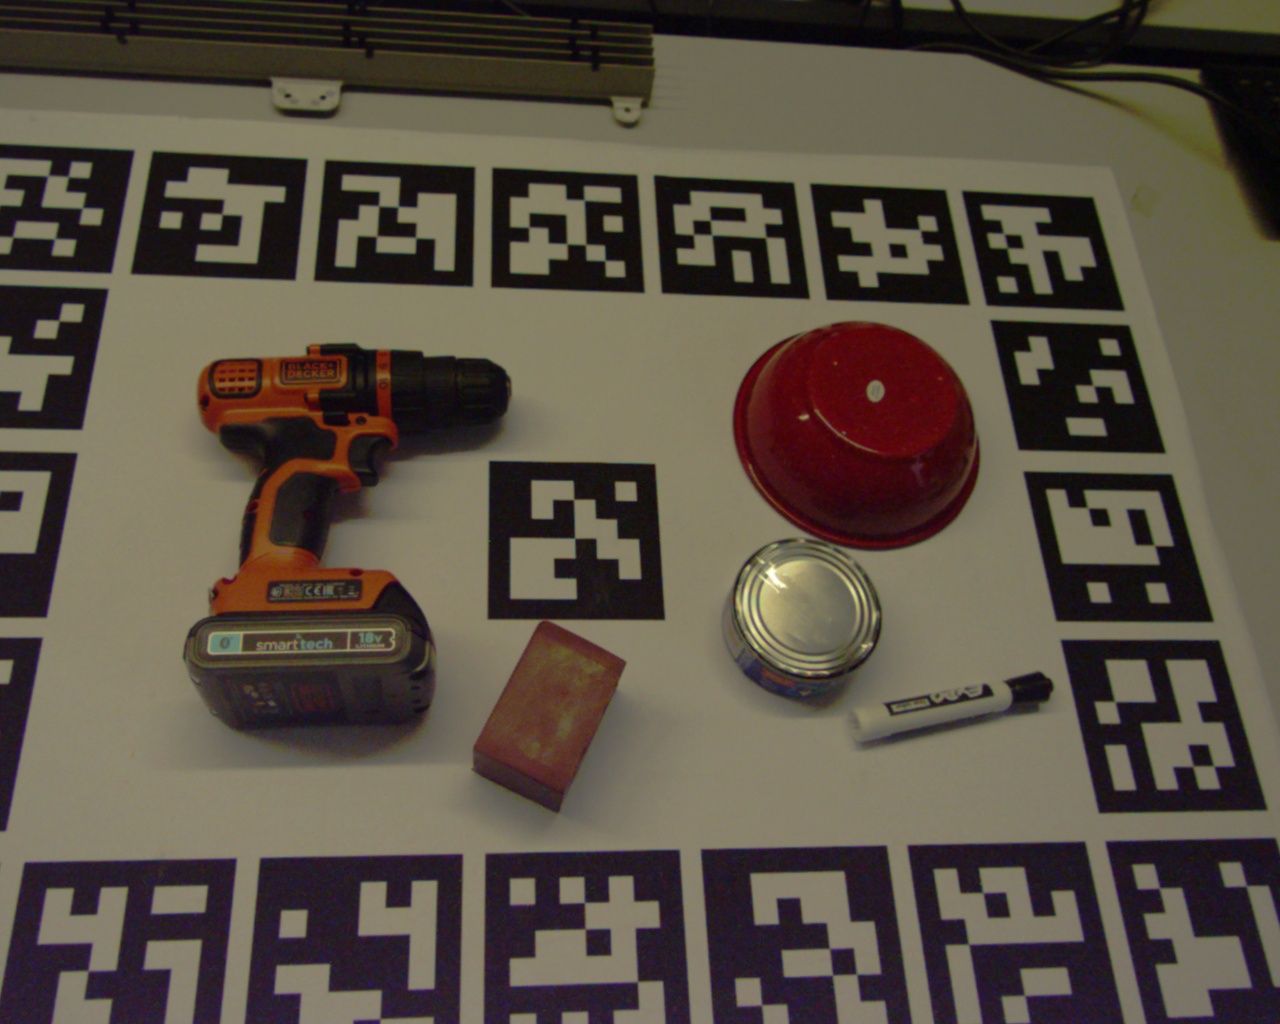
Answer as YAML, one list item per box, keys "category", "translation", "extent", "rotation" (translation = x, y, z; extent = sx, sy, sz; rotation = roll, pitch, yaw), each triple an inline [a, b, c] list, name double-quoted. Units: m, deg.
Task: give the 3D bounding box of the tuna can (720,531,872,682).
- category: "tuna can"
  translation: [0.092, 0.057, 0.679]
  extent: [0.085, 0.034, 0.086]
  rotation: [4, 64, -9]

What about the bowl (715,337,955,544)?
- category: "bowl"
  translation: [0.132, -0.061, 0.741]
  extent: [0.161, 0.055, 0.162]
  rotation: [2, 58, -3]

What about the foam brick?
- category: "foam brick"
  translation: [-0.046, 0.111, 0.632]
  extent: [0.051, 0.053, 0.078]
  rotation: [22, 65, 1]

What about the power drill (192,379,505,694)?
- category: "power drill"
  translation: [-0.167, 0.008, 0.660]
  extent: [0.183, 0.057, 0.188]
  rotation: [0, 62, -12]

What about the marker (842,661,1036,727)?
- category: "marker"
  translation: [0.179, 0.107, 0.674]
  extent: [0.120, 0.019, 0.020]
  rotation: [-9, 68, -12]
